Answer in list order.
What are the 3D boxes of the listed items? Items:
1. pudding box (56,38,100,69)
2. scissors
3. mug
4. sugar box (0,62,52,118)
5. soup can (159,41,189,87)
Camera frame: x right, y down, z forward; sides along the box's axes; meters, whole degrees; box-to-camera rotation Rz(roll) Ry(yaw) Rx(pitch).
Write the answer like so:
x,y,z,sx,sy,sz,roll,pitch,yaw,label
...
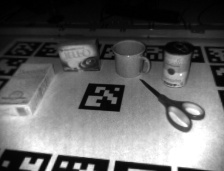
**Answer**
x,y,z,sx,sy,sz,roll,pitch,yaw,label
-0.095,-0.096,0.628,0.114,0.090,0.038,-4,48,1,pudding box
0.126,0.033,0.524,0.088,0.016,0.200,-33,50,-15,scissors
0.053,-0.085,0.614,0.094,0.082,0.115,-24,44,-16,mug
-0.230,0.005,0.571,0.092,0.045,0.176,0,44,8,sugar box
0.161,-0.055,0.568,0.068,0.103,0.067,-3,41,4,soup can
